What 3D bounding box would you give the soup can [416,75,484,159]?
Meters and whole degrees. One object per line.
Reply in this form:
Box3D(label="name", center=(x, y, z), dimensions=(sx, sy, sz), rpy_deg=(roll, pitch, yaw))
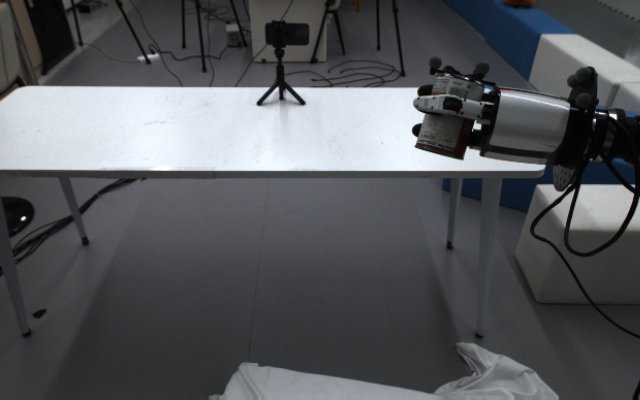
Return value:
Box3D(label="soup can", center=(0.176, -0.113, 0.657), dimensions=(0.067, 0.101, 0.067), rpy_deg=(15, 7, -2))
